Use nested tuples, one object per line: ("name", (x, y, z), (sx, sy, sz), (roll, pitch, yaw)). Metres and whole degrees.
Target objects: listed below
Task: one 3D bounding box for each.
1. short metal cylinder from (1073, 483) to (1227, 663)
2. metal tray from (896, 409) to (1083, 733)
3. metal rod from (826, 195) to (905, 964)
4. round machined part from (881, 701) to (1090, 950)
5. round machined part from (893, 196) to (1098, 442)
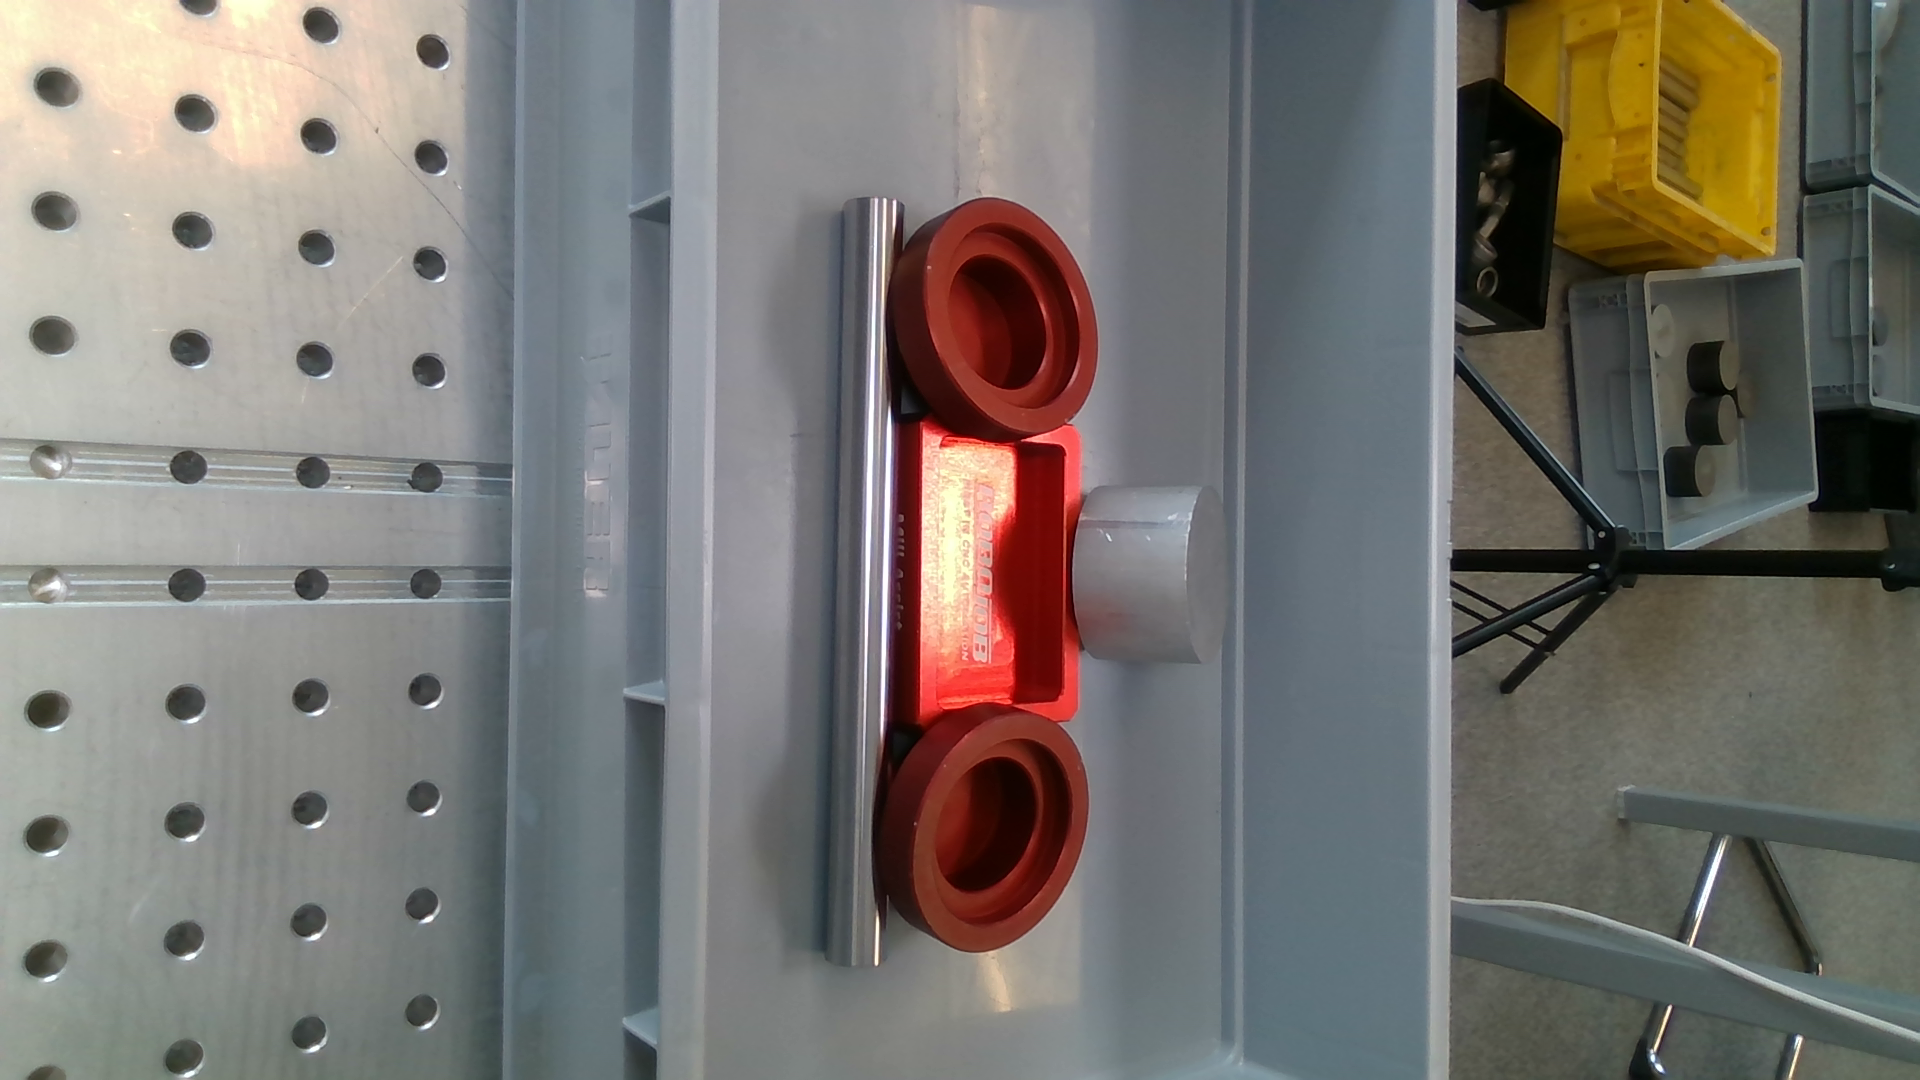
("short metal cylinder", (0.088, 0.015, 0.621), (0.080, 0.050, 0.080), (0, 90, -67))
("metal tray", (0.009, 0.013, 0.586), (0.090, 0.030, 0.130), (1, 90, -40))
("metal rod", (-0.038, 0.015, 0.550), (0.025, 0.025, 0.300), (2, 89, -40))
("round machined part", (0.005, 0.115, 0.569), (0.098, 0.042, 0.098), (-9, 103, -41))
("round machined part", (0.009, -0.089, 0.572), (0.098, 0.042, 0.098), (10, 75, -41))
